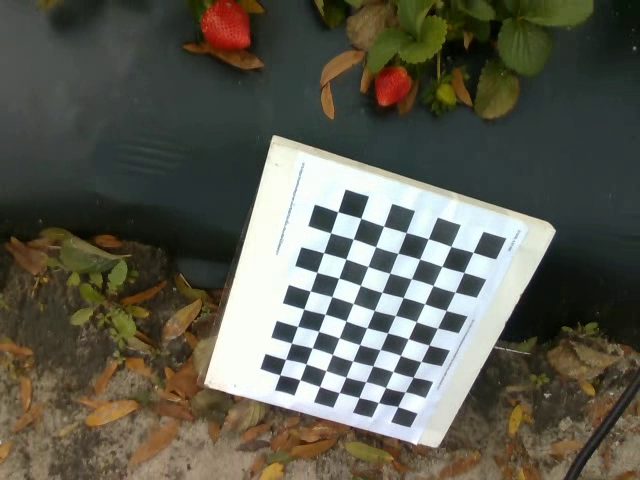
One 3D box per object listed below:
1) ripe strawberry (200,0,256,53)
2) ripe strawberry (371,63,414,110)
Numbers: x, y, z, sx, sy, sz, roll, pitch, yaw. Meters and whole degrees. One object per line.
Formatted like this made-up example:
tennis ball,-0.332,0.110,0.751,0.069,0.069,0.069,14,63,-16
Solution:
ripe strawberry,-0.080,-0.181,0.462,0.042,0.047,0.065,-1,37,-41
ripe strawberry,0.065,-0.133,0.478,0.040,0.042,0.037,26,-25,-10
